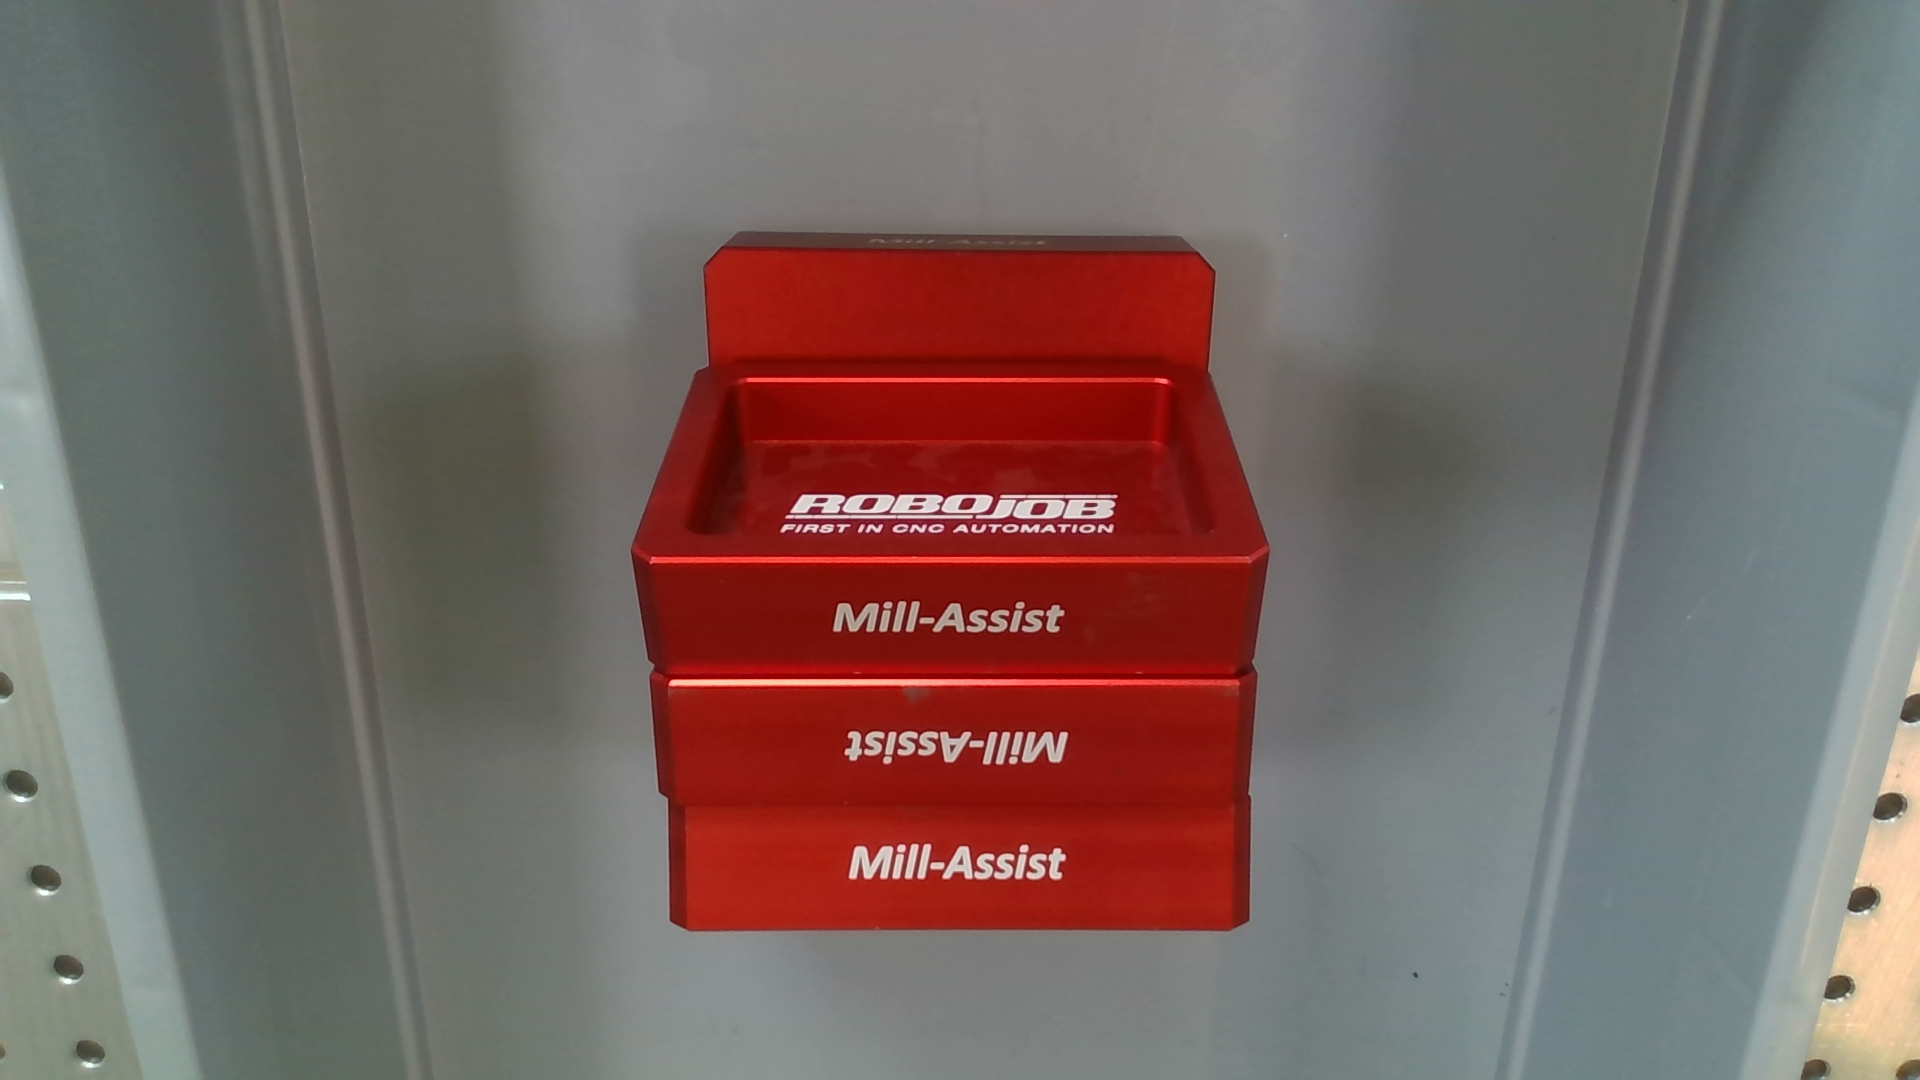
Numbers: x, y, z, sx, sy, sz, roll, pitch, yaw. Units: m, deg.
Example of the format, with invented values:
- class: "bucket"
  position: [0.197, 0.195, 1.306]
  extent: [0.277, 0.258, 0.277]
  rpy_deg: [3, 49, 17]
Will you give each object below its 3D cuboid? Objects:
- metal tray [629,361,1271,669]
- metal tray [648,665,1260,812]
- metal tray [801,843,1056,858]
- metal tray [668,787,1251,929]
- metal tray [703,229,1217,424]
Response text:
- class: "metal tray"
  position: [-0.002, -0.009, 0.320]
  extent: [0.130, 0.090, 0.030]
  rpy_deg: [0, 123, 0]
- class: "metal tray"
  position: [-0.002, 0.029, 0.335]
  extent: [0.130, 0.090, 0.030]
  rpy_deg: [-1, 110, -2]
- class: "metal tray"
  position: [-0.002, 0.048, 0.407]
  extent: [0.130, 0.030, 0.090]
  rpy_deg: [0, 110, 0]
- class: "metal tray"
  position: [0.000, 0.067, 0.348]
  extent: [0.130, 0.090, 0.030]
  rpy_deg: [0, 96, 0]
- class: "metal tray"
  position: [0.000, -0.037, 0.375]
  extent: [0.130, 0.030, 0.090]
  rpy_deg: [0, 110, 0]
